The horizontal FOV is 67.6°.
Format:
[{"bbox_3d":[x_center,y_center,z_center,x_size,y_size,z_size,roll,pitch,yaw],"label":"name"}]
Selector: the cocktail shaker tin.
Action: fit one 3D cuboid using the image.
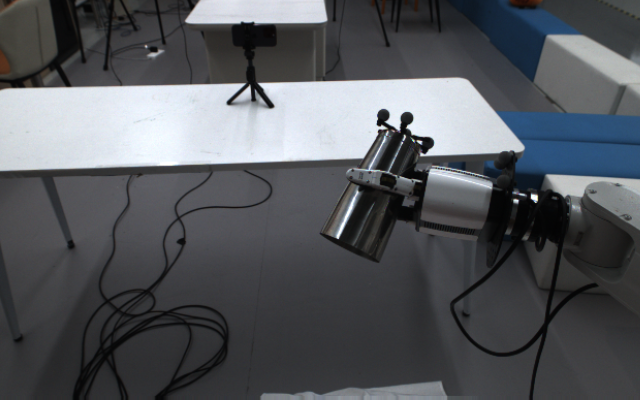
[{"bbox_3d":[0.079,-0.013,0.676,0.093,0.093,0.170,21,81,25],"label":"cocktail shaker tin"}]
